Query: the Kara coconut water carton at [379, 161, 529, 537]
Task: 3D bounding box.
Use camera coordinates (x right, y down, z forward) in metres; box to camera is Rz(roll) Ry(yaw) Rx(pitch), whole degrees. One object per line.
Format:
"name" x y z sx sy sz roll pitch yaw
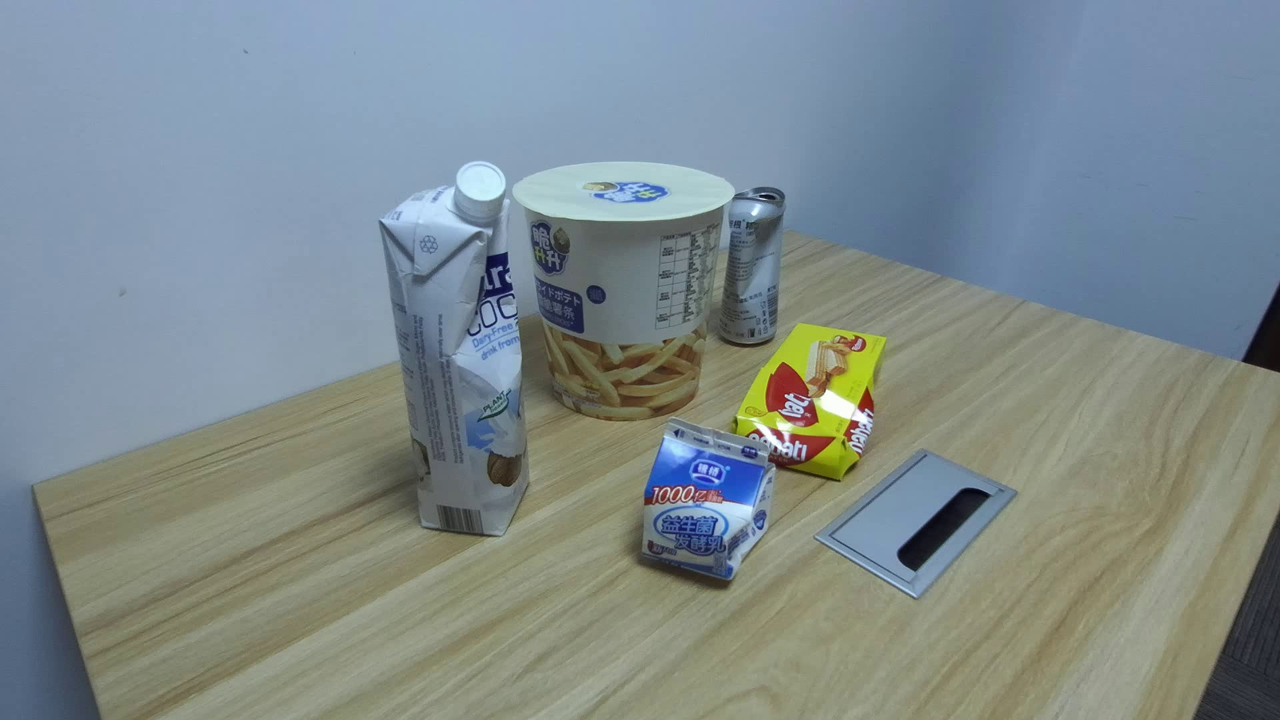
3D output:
"Kara coconut water carton" -0.120 -0.002 0.477 0.078 0.255 0.083 13 30 19

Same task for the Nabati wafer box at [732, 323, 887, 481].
"Nabati wafer box" 0.163 0.031 0.643 0.106 0.042 0.205 13 32 23

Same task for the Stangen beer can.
"Stangen beer can" 0.120 -0.098 0.752 0.066 0.162 0.077 1 27 -2

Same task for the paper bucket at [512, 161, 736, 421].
"paper bucket" -0.015 -0.064 0.653 0.198 0.195 0.198 1 29 0

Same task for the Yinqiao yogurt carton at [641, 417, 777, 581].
"Yinqiao yogurt carton" 0.048 0.088 0.474 0.074 0.097 0.080 11 23 18
